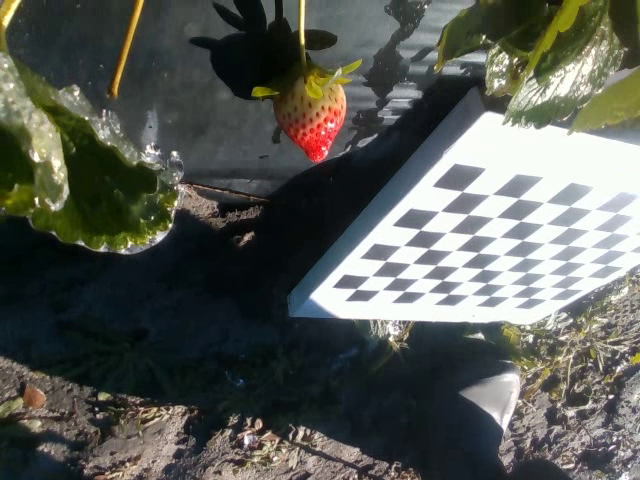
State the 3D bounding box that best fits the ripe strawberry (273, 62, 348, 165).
[{"bbox_3d":[-0.002,-0.058,0.291,0.039,0.053,0.041,-6,45,-7],"label":"ripe strawberry"}]
